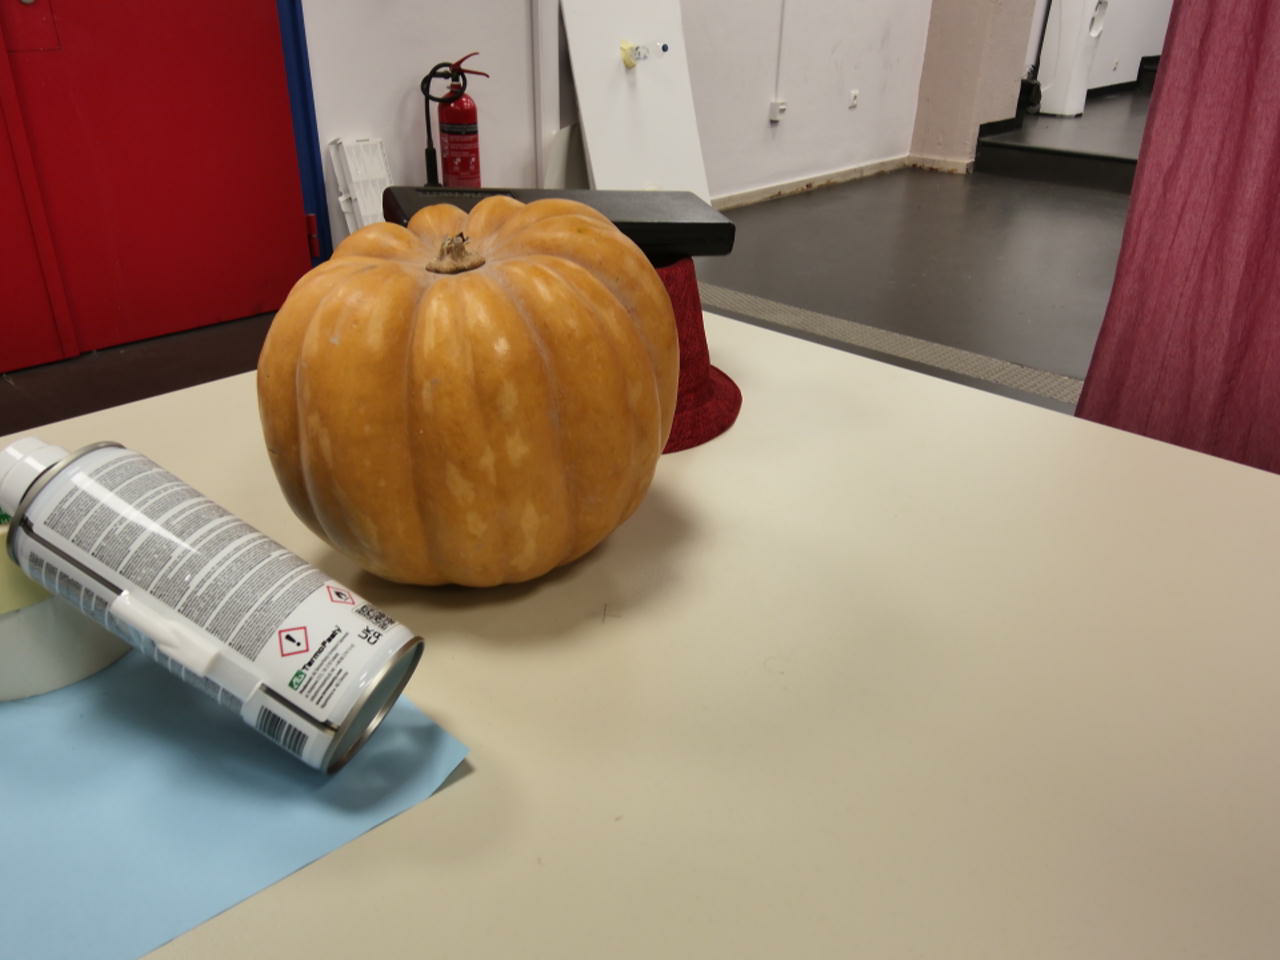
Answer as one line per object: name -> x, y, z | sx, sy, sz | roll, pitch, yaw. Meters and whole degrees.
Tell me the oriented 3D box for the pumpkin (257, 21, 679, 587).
pumpkin -> -0.088, -0.048, 0.546 | 0.230, 0.194, 0.230 | 0, 26, 0
